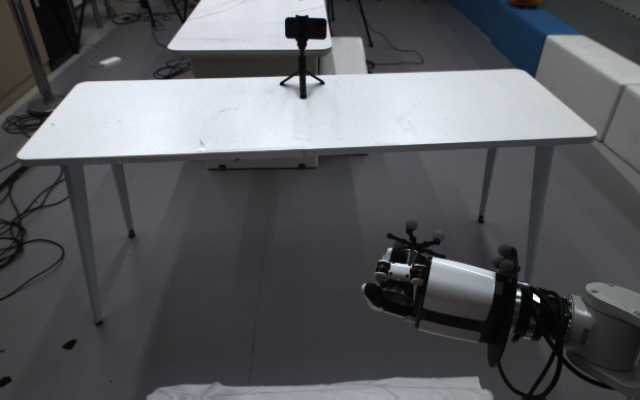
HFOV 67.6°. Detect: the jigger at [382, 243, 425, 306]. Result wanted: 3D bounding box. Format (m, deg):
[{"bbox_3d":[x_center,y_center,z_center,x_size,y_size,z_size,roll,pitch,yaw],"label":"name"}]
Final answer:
[{"bbox_3d":[0.120,0.104,0.671,0.043,0.043,0.071,15,58,18],"label":"jigger"}]
